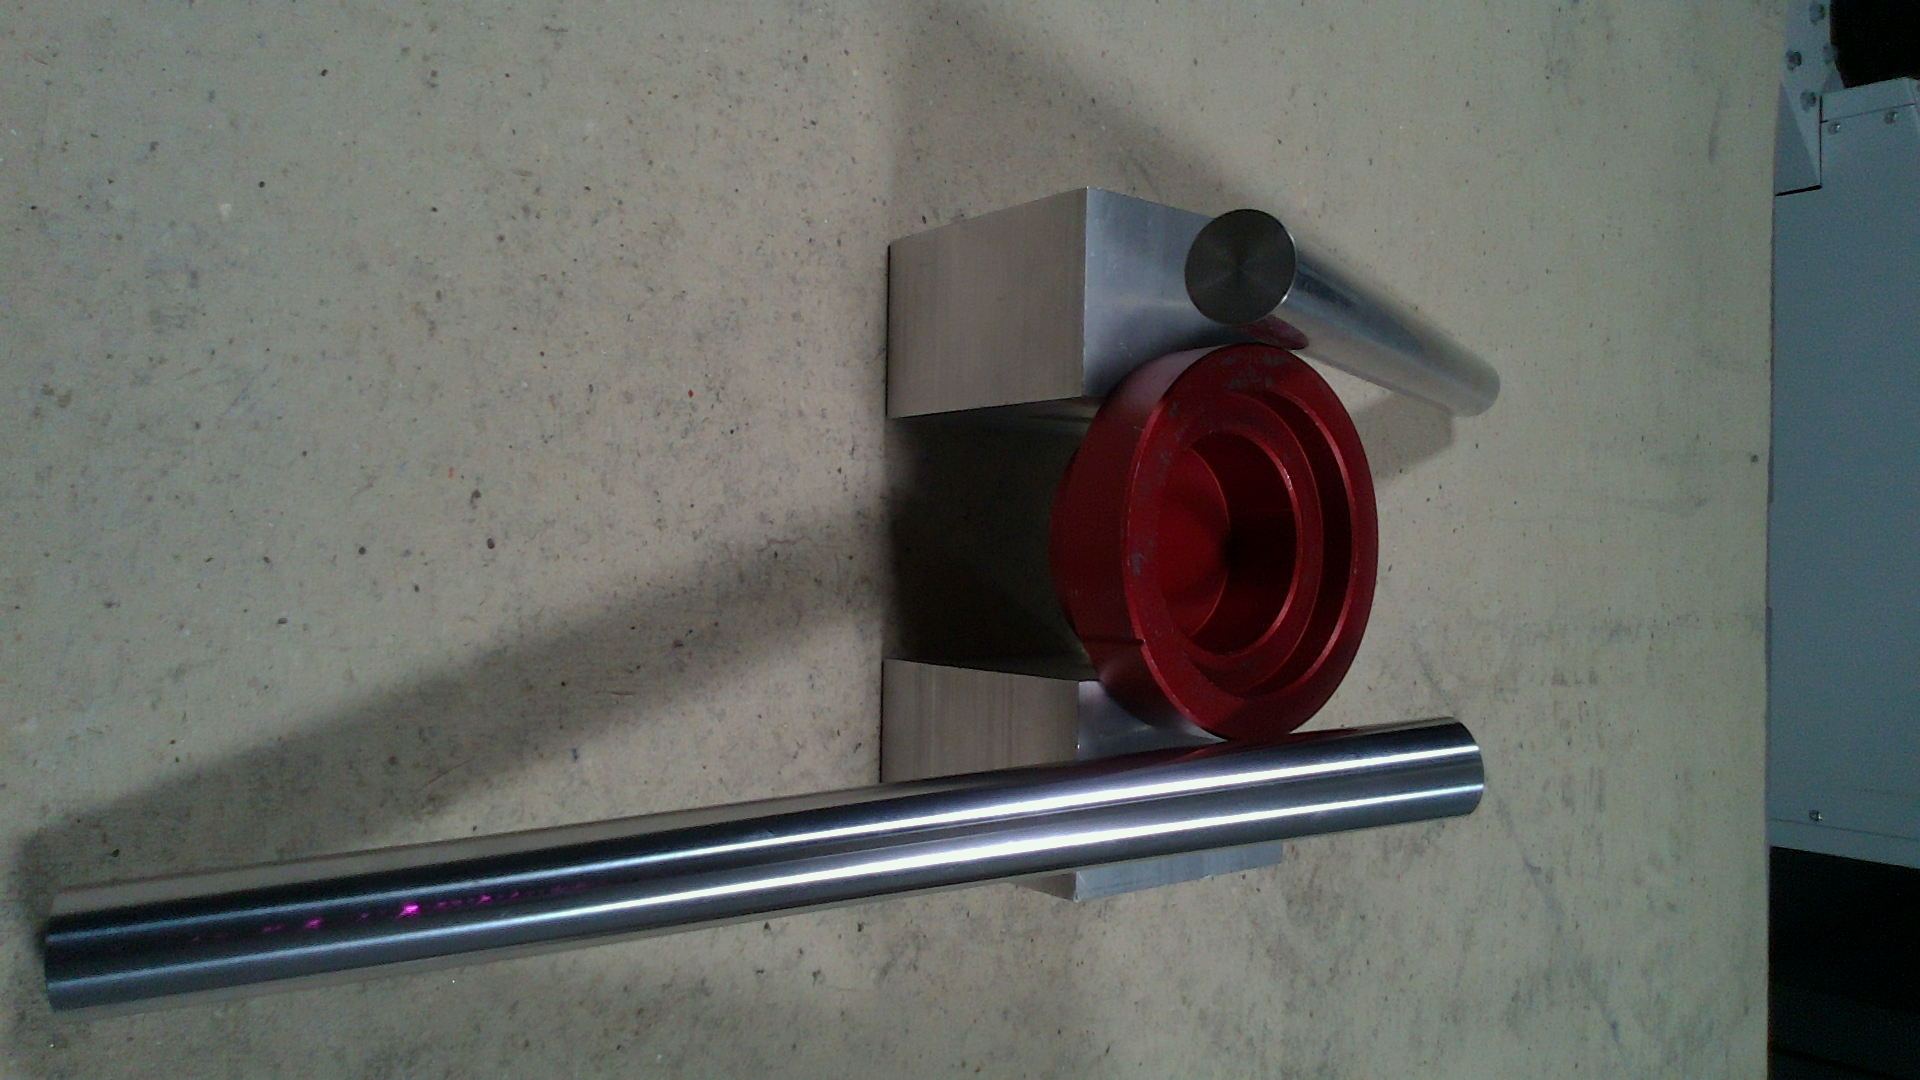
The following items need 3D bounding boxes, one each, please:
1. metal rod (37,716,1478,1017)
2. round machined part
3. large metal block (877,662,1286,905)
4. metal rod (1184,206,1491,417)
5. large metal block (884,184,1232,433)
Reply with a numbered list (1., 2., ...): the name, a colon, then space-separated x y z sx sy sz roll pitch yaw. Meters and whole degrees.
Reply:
1. metal rod: -0.023 0.066 0.298 0.301 0.025 0.025 -4 93 -17
2. round machined part: 0.061 0.001 0.352 0.098 0.042 0.098 0 90 -40
3. large metal block: 0.033 0.062 0.381 0.080 0.080 0.050 1 89 -40
4. metal rod: 0.132 -0.061 0.429 0.301 0.025 0.025 -1 91 -61
5. large metal block: 0.035 -0.059 0.382 0.080 0.080 0.050 1 89 -40
